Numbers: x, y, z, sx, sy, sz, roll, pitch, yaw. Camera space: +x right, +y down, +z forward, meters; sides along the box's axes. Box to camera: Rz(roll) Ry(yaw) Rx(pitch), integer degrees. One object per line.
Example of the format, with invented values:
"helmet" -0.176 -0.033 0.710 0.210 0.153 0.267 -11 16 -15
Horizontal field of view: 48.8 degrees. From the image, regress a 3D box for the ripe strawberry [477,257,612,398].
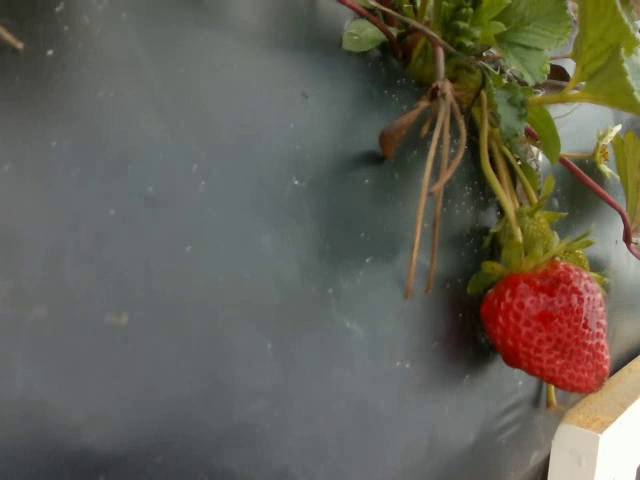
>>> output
"ripe strawberry" 0.026 0.010 0.076 0.014 0.017 0.018 -39 -17 20
